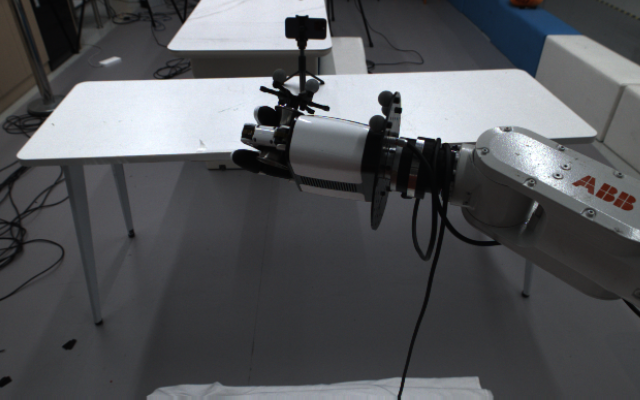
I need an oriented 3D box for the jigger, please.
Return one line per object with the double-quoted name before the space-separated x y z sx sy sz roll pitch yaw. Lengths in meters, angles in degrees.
"jigger" -0.049 -0.077 0.587 0.043 0.071 0.043 18 -6 2
